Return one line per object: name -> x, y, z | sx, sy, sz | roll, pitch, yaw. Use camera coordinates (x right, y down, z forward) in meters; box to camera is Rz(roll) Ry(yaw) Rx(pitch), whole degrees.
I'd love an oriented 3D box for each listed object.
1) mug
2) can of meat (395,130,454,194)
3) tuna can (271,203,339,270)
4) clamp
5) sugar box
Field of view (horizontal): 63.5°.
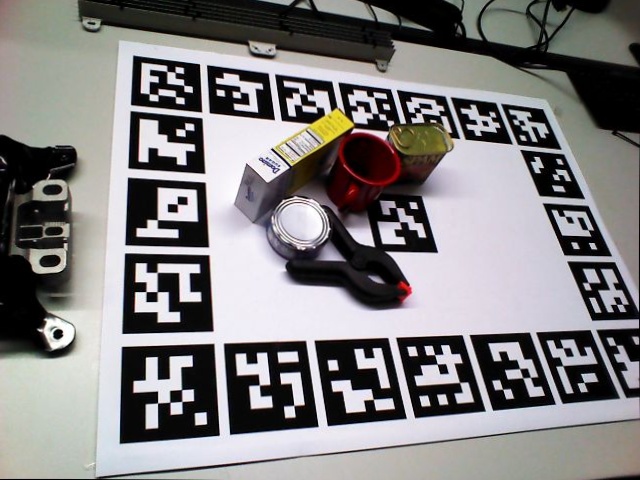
mug -> 0.068, -0.078, 0.720 | 0.093, 0.082, 0.116 | 23, 58, -6
can of meat -> 0.153, -0.117, 0.781 | 0.101, 0.084, 0.057 | -7, 63, -24
tuna can -> -0.020, -0.004, 0.678 | 0.085, 0.034, 0.085 | 8, 61, -15
clamp -> 0.060, 0.048, 0.682 | 0.165, 0.037, 0.121 | 33, 52, -4
sugar box -> -0.023, -0.091, 0.700 | 0.045, 0.093, 0.175 | 44, 56, 10
